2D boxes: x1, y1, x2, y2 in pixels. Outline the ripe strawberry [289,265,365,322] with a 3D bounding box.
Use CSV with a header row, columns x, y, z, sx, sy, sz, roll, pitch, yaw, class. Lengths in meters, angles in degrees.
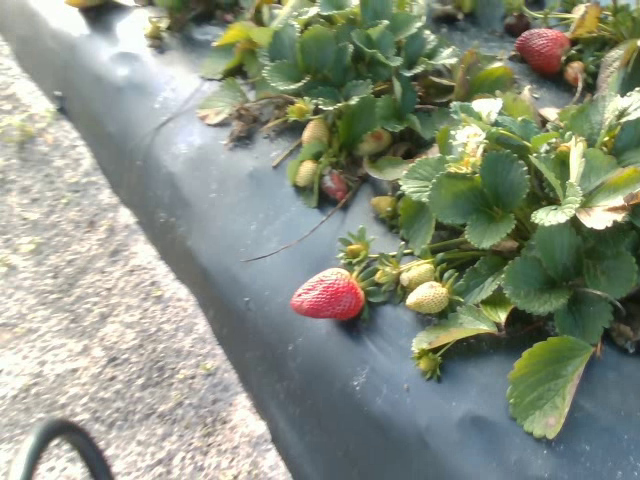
x,y,z,sx,sy,sz,roll,pitch,yaw,class
0.005,0.052,0.545,0.067,0.045,0.053,-24,52,-23,ripe strawberry
